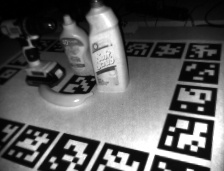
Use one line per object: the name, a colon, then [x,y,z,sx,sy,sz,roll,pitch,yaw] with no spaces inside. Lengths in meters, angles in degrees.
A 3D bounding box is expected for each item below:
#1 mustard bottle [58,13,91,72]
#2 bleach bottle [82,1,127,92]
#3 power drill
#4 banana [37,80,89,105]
mustard bottle: [-0.116,-0.131,0.672,0.095,0.193,0.058,9,45,24]
bleach bottle: [-0.028,-0.092,0.568,0.102,0.253,0.068,1,44,19]
power drill: [-0.235,-0.118,0.662,0.183,0.188,0.057,7,38,20]
banana: [-0.155,0.018,0.626,0.195,0.039,0.074,9,49,28]
